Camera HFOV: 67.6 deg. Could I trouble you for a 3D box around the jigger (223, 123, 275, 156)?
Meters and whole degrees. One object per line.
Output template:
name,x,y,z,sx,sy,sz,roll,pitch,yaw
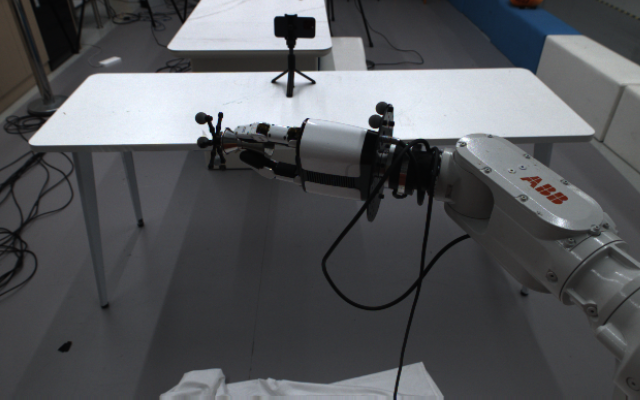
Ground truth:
jigger,-0.103,-0.088,0.709,0.071,0.043,0.043,4,34,13
